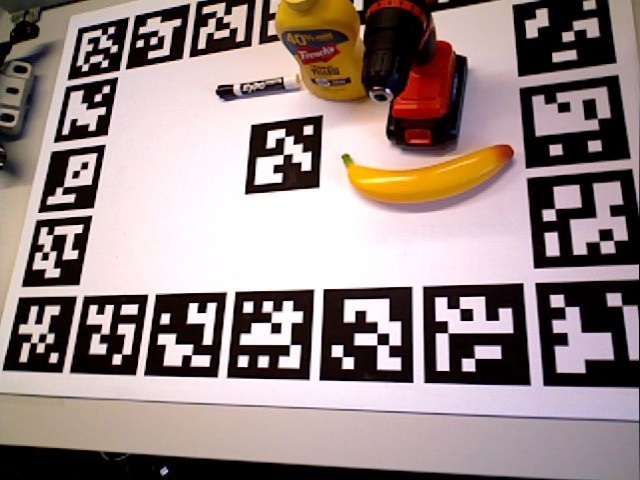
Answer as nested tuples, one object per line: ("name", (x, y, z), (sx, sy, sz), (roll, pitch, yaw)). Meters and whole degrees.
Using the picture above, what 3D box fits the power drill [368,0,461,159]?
("power drill", (0.101, -0.162, 0.558), (0.057, 0.188, 0.183), (14, 76, 20))

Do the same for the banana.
("banana", (0.112, -0.049, 0.626), (0.198, 0.039, 0.074), (7, 78, 23))

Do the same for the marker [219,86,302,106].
("marker", (-0.084, -0.197, 0.747), (0.122, 0.019, 0.019), (1, 74, 20))

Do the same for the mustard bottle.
("mustard bottle", (0.011, -0.217, 0.625), (0.096, 0.192, 0.058), (11, 76, 20))
